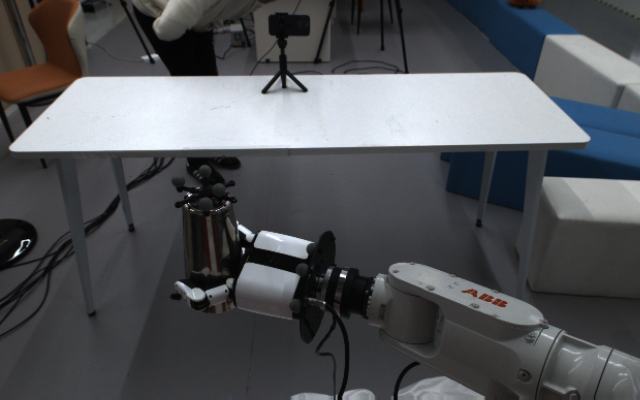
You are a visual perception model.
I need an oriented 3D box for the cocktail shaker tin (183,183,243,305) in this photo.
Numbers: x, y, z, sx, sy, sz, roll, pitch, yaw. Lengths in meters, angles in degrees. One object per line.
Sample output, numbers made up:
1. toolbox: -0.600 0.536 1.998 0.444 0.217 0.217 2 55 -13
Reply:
1. cocktail shaker tin: -0.152 0.068 0.688 0.093 0.170 0.093 2 35 -1
